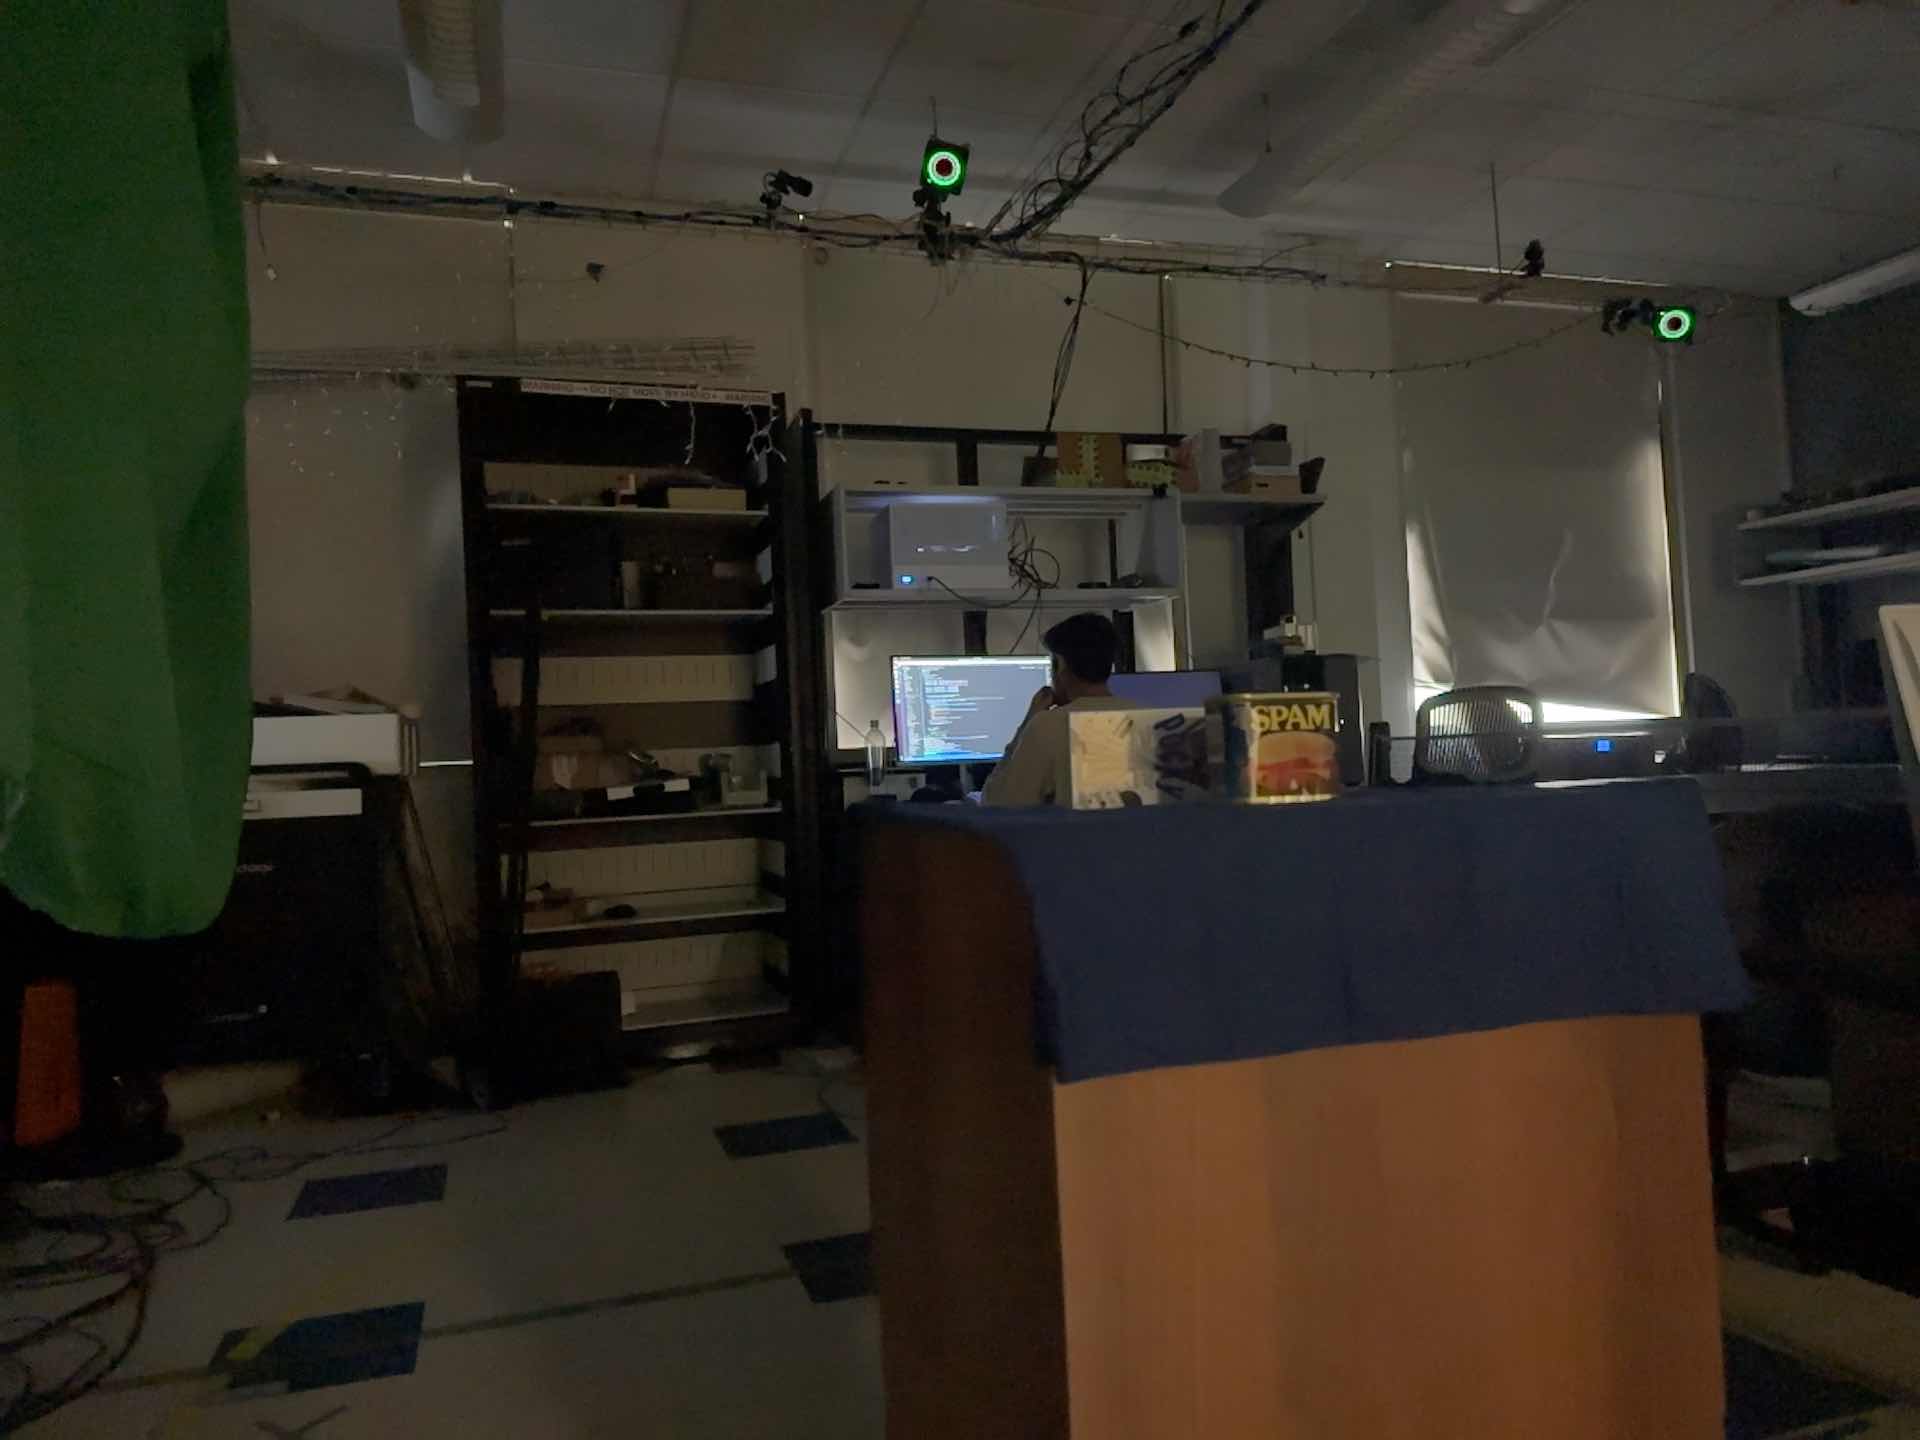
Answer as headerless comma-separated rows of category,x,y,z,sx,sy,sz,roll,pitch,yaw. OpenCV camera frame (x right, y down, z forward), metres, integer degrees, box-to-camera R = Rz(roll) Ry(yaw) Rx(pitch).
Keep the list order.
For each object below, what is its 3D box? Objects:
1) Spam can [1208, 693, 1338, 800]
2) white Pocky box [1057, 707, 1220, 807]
Spam can,0.260,0.022,1.112,0.100,0.083,0.056,0,-4,-16
white Pocky box,0.165,0.031,1.196,0.154,0.084,0.028,-2,-3,-7
